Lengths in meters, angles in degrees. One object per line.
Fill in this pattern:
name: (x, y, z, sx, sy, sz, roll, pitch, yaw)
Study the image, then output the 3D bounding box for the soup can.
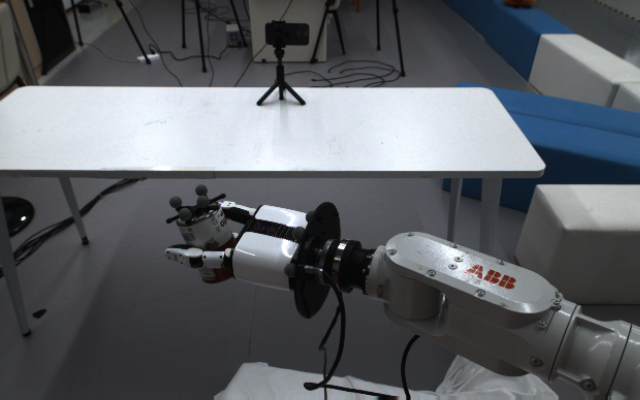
soup can: (-0.157, 0.062, 0.702, 0.067, 0.101, 0.067, -16, 23, 7)
